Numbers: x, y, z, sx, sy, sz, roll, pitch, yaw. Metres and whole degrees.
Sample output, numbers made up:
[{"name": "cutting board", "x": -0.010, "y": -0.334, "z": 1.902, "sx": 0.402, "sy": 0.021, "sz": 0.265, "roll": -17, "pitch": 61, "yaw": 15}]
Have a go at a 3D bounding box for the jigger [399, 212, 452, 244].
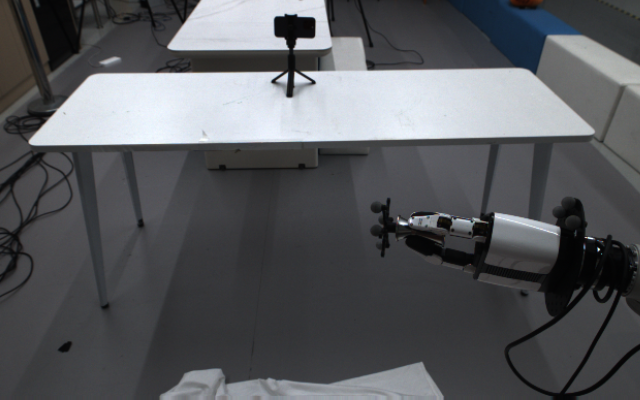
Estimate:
[{"name": "jigger", "x": 0.153, "y": 0.039, "z": 0.699, "sx": 0.071, "sy": 0.043, "sz": 0.043, "roll": 3, "pitch": 34, "yaw": 16}]
